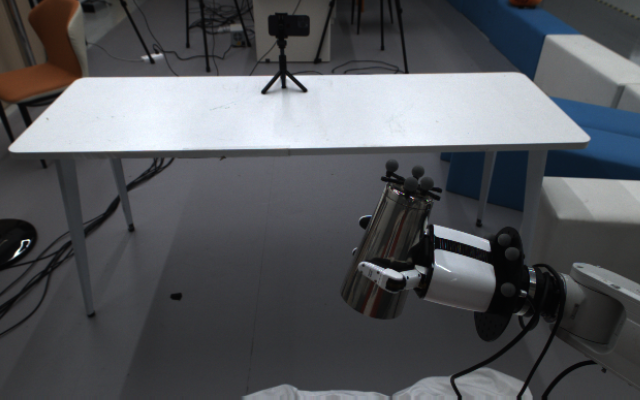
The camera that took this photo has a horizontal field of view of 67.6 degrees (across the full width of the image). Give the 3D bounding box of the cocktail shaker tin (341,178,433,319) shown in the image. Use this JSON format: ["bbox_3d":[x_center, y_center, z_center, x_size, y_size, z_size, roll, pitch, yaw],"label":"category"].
[{"bbox_3d":[0.097,0.064,0.659,0.093,0.170,0.093,14,20,-5],"label":"cocktail shaker tin"}]
